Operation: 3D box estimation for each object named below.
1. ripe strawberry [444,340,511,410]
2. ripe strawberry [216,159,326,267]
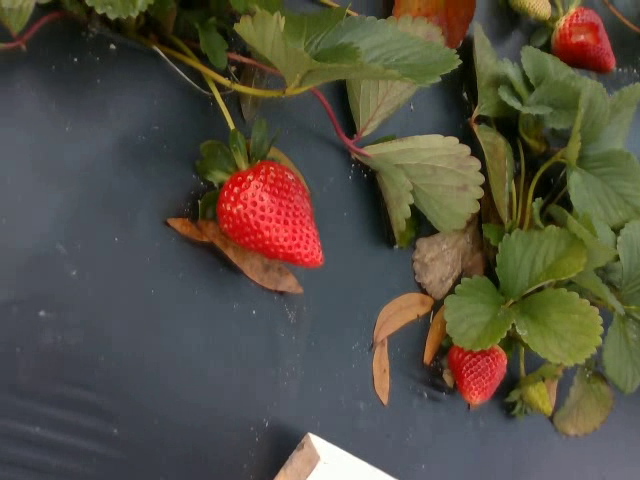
[{"bbox_3d":[0.091,0.079,0.357,0.037,0.042,0.041,-23,-57,34],"label":"ripe strawberry"},{"bbox_3d":[-0.019,-0.006,0.289,0.065,0.047,0.042,44,3,25],"label":"ripe strawberry"}]
